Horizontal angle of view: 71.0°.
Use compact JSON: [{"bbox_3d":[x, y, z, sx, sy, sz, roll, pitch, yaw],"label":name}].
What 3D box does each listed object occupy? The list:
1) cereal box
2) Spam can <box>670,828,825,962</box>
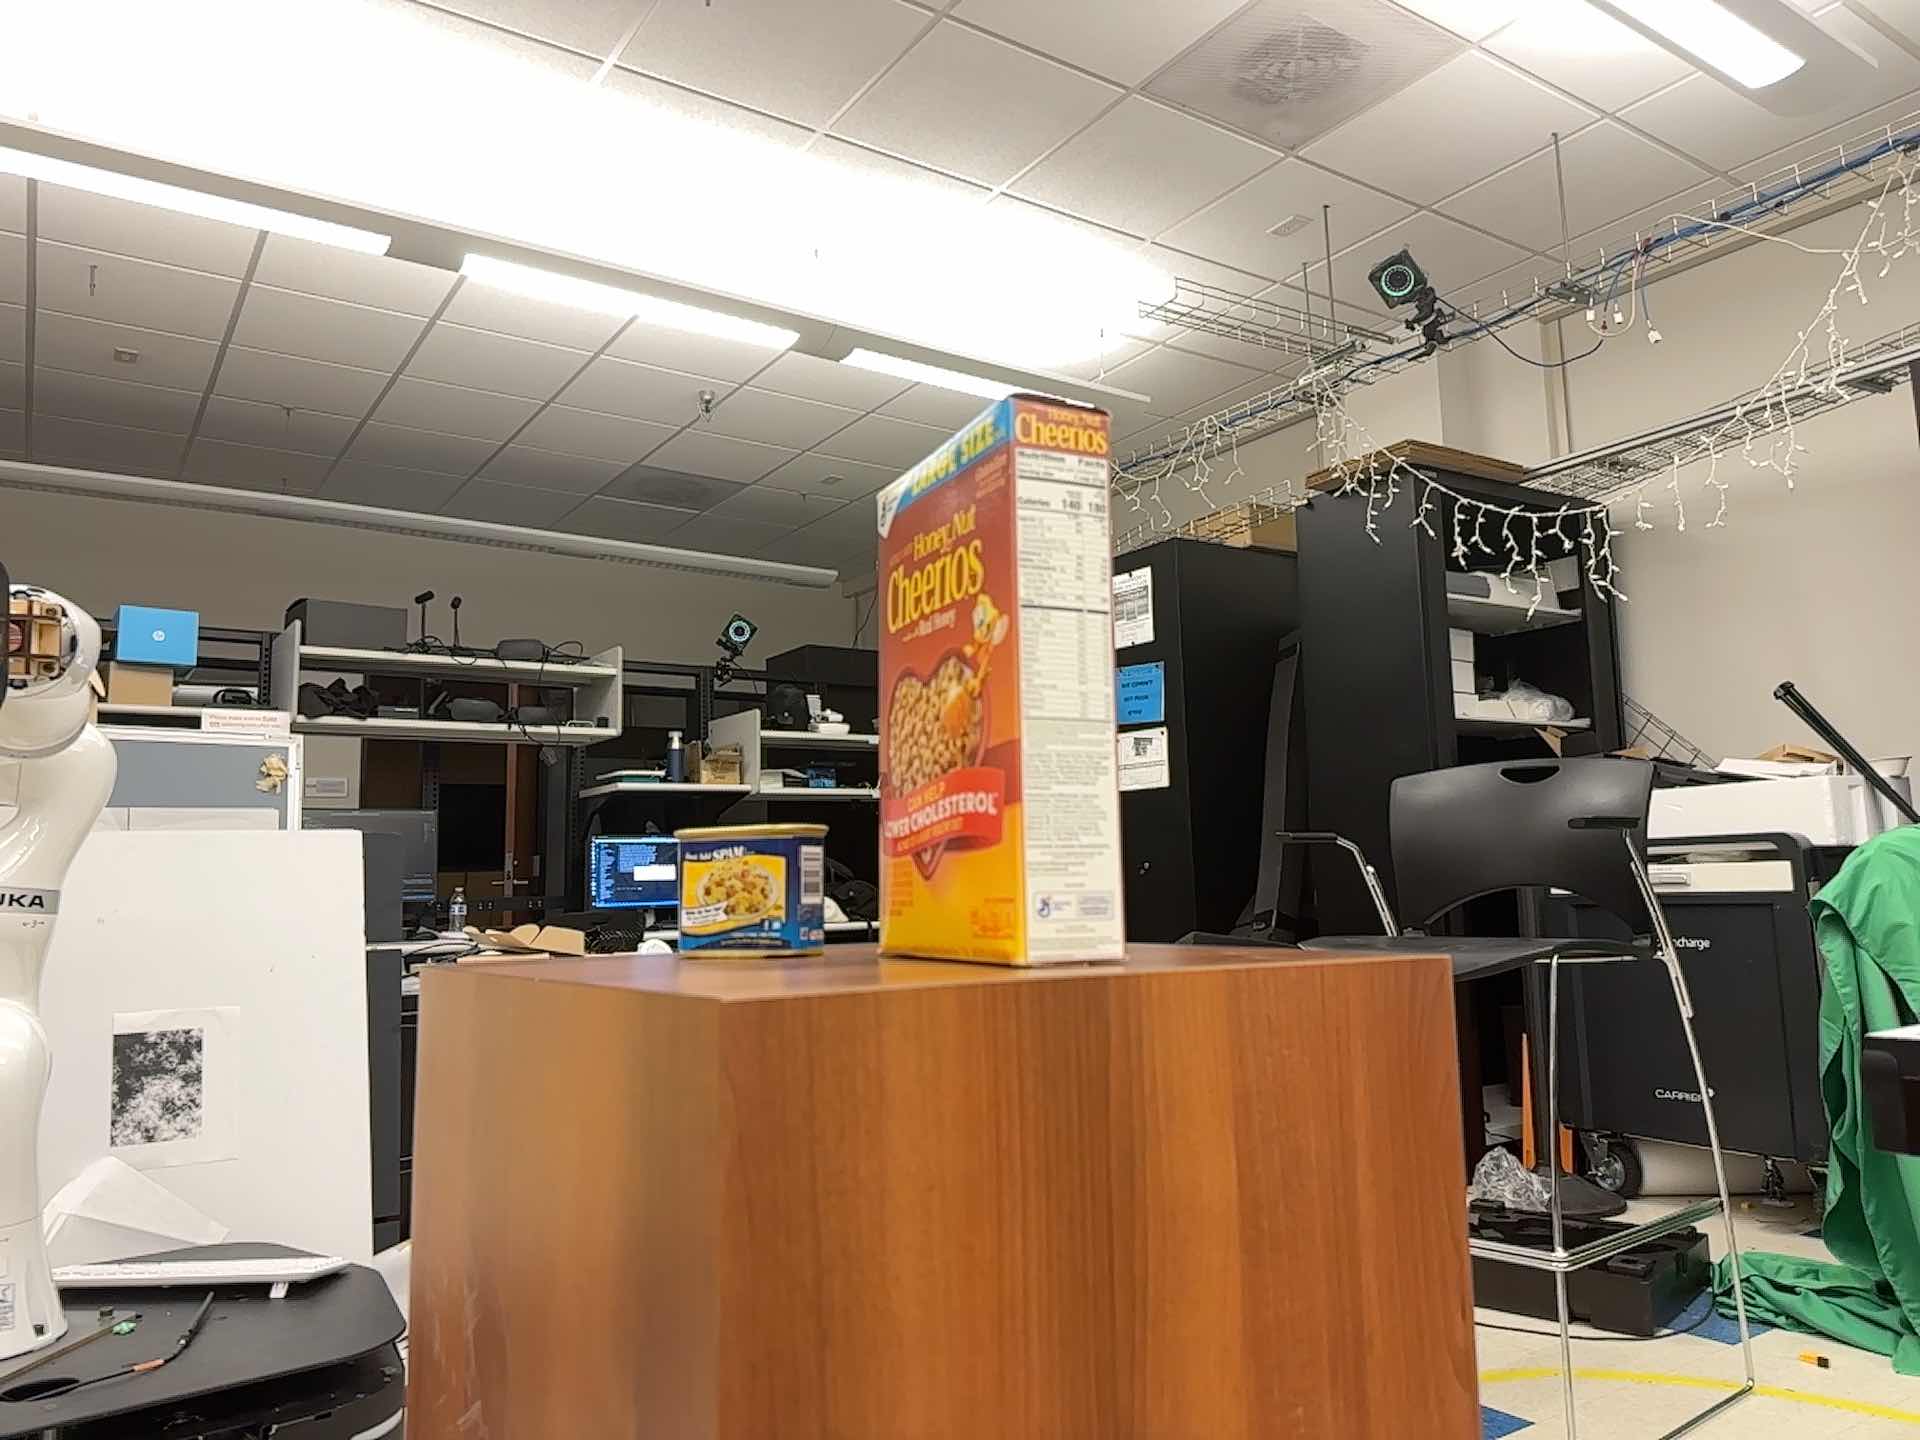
[{"bbox_3d":[0.015,-0.013,0.808,0.065,0.297,0.195,4,-10,-25],"label":"cereal box"},{"bbox_3d":[-0.143,0.118,0.903,0.100,0.083,0.056,-4,-10,17],"label":"Spam can"}]
